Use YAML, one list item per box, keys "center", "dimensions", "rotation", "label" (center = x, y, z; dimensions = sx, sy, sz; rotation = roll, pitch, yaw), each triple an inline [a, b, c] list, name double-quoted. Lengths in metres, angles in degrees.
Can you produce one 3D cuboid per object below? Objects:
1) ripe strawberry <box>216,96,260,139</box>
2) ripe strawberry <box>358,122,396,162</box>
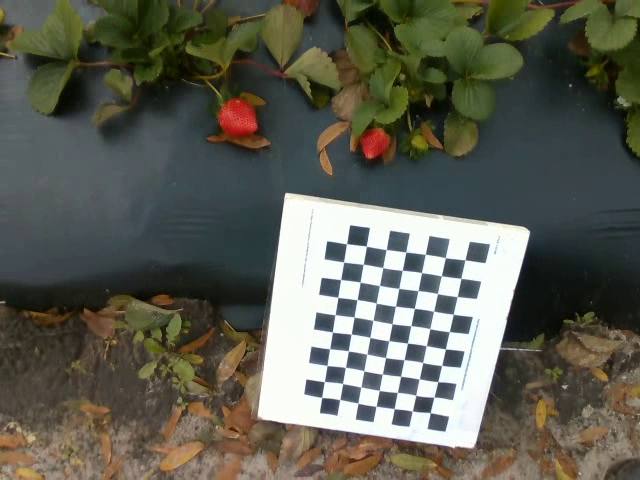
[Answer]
- center: [-0.087, -0.135, 0.753]
  dimensions: [0.042, 0.047, 0.065]
  rotation: [-2, 24, -39]
  label: "ripe strawberry"
- center: [0.064, -0.108, 0.758]
  dimensions: [0.040, 0.042, 0.037]
  rotation: [18, -33, -5]
  label: "ripe strawberry"
